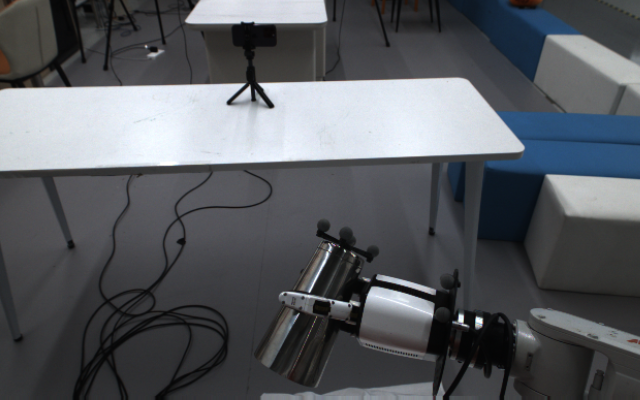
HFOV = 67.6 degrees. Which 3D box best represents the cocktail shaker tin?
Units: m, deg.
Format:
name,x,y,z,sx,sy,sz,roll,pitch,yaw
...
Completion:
name,x,y,z,sx,sy,sz,roll,pitch,yaw
cocktail shaker tin,-0.005,0.141,0.636,0.093,0.093,0.170,21,81,25
